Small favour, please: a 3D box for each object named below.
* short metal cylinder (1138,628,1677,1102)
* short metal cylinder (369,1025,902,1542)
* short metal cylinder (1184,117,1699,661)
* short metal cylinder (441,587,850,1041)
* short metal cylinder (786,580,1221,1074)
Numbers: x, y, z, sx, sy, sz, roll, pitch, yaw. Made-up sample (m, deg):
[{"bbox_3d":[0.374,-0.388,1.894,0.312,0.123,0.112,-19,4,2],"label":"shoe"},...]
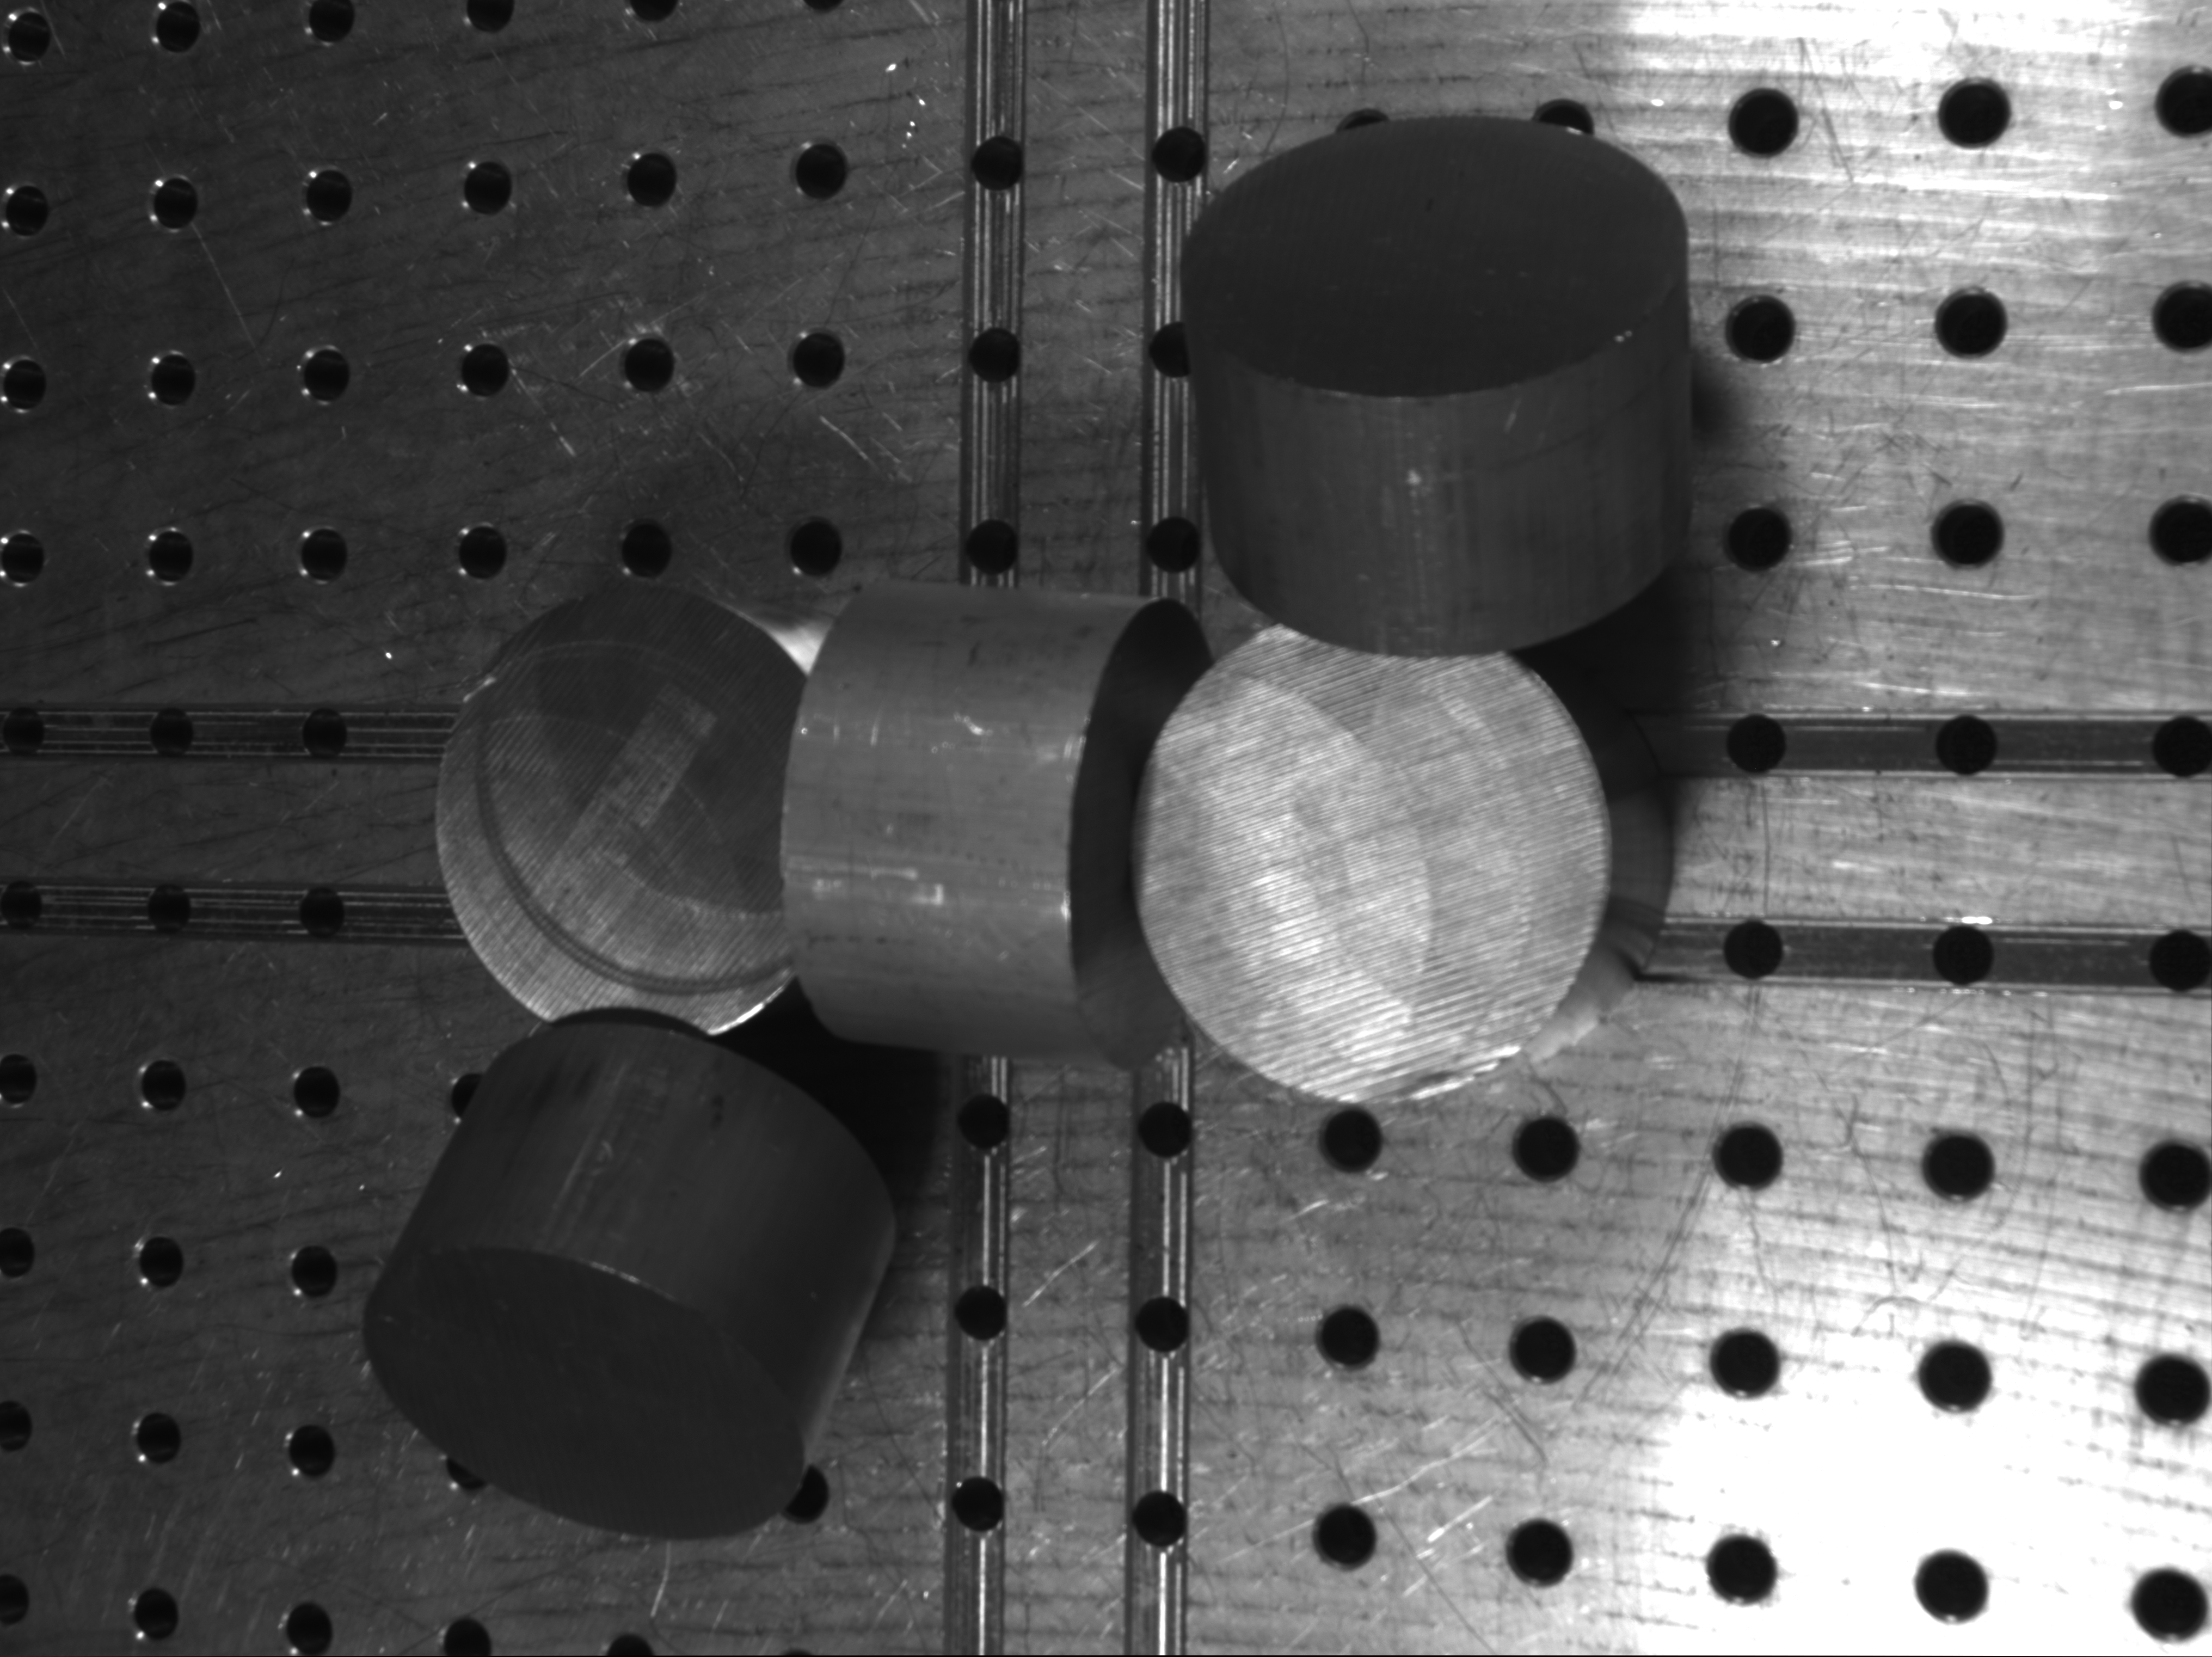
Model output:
[{"bbox_3d":[0.051,0.004,0.615,0.080,0.050,0.080,0,90,20],"label":"short metal cylinder"},{"bbox_3d":[-0.081,0.080,0.640,0.080,0.050,0.080,11,137,11],"label":"short metal cylinder"},{"bbox_3d":[0.055,-0.072,0.591,0.080,0.080,0.050,9,135,19],"label":"short metal cylinder"},{"bbox_3d":[-0.072,-0.002,0.658,0.080,0.050,0.080,0,90,20],"label":"short metal cylinder"},{"bbox_3d":[-0.015,-0.001,0.623,0.050,0.080,0.080,5,92,20],"label":"short metal cylinder"}]
